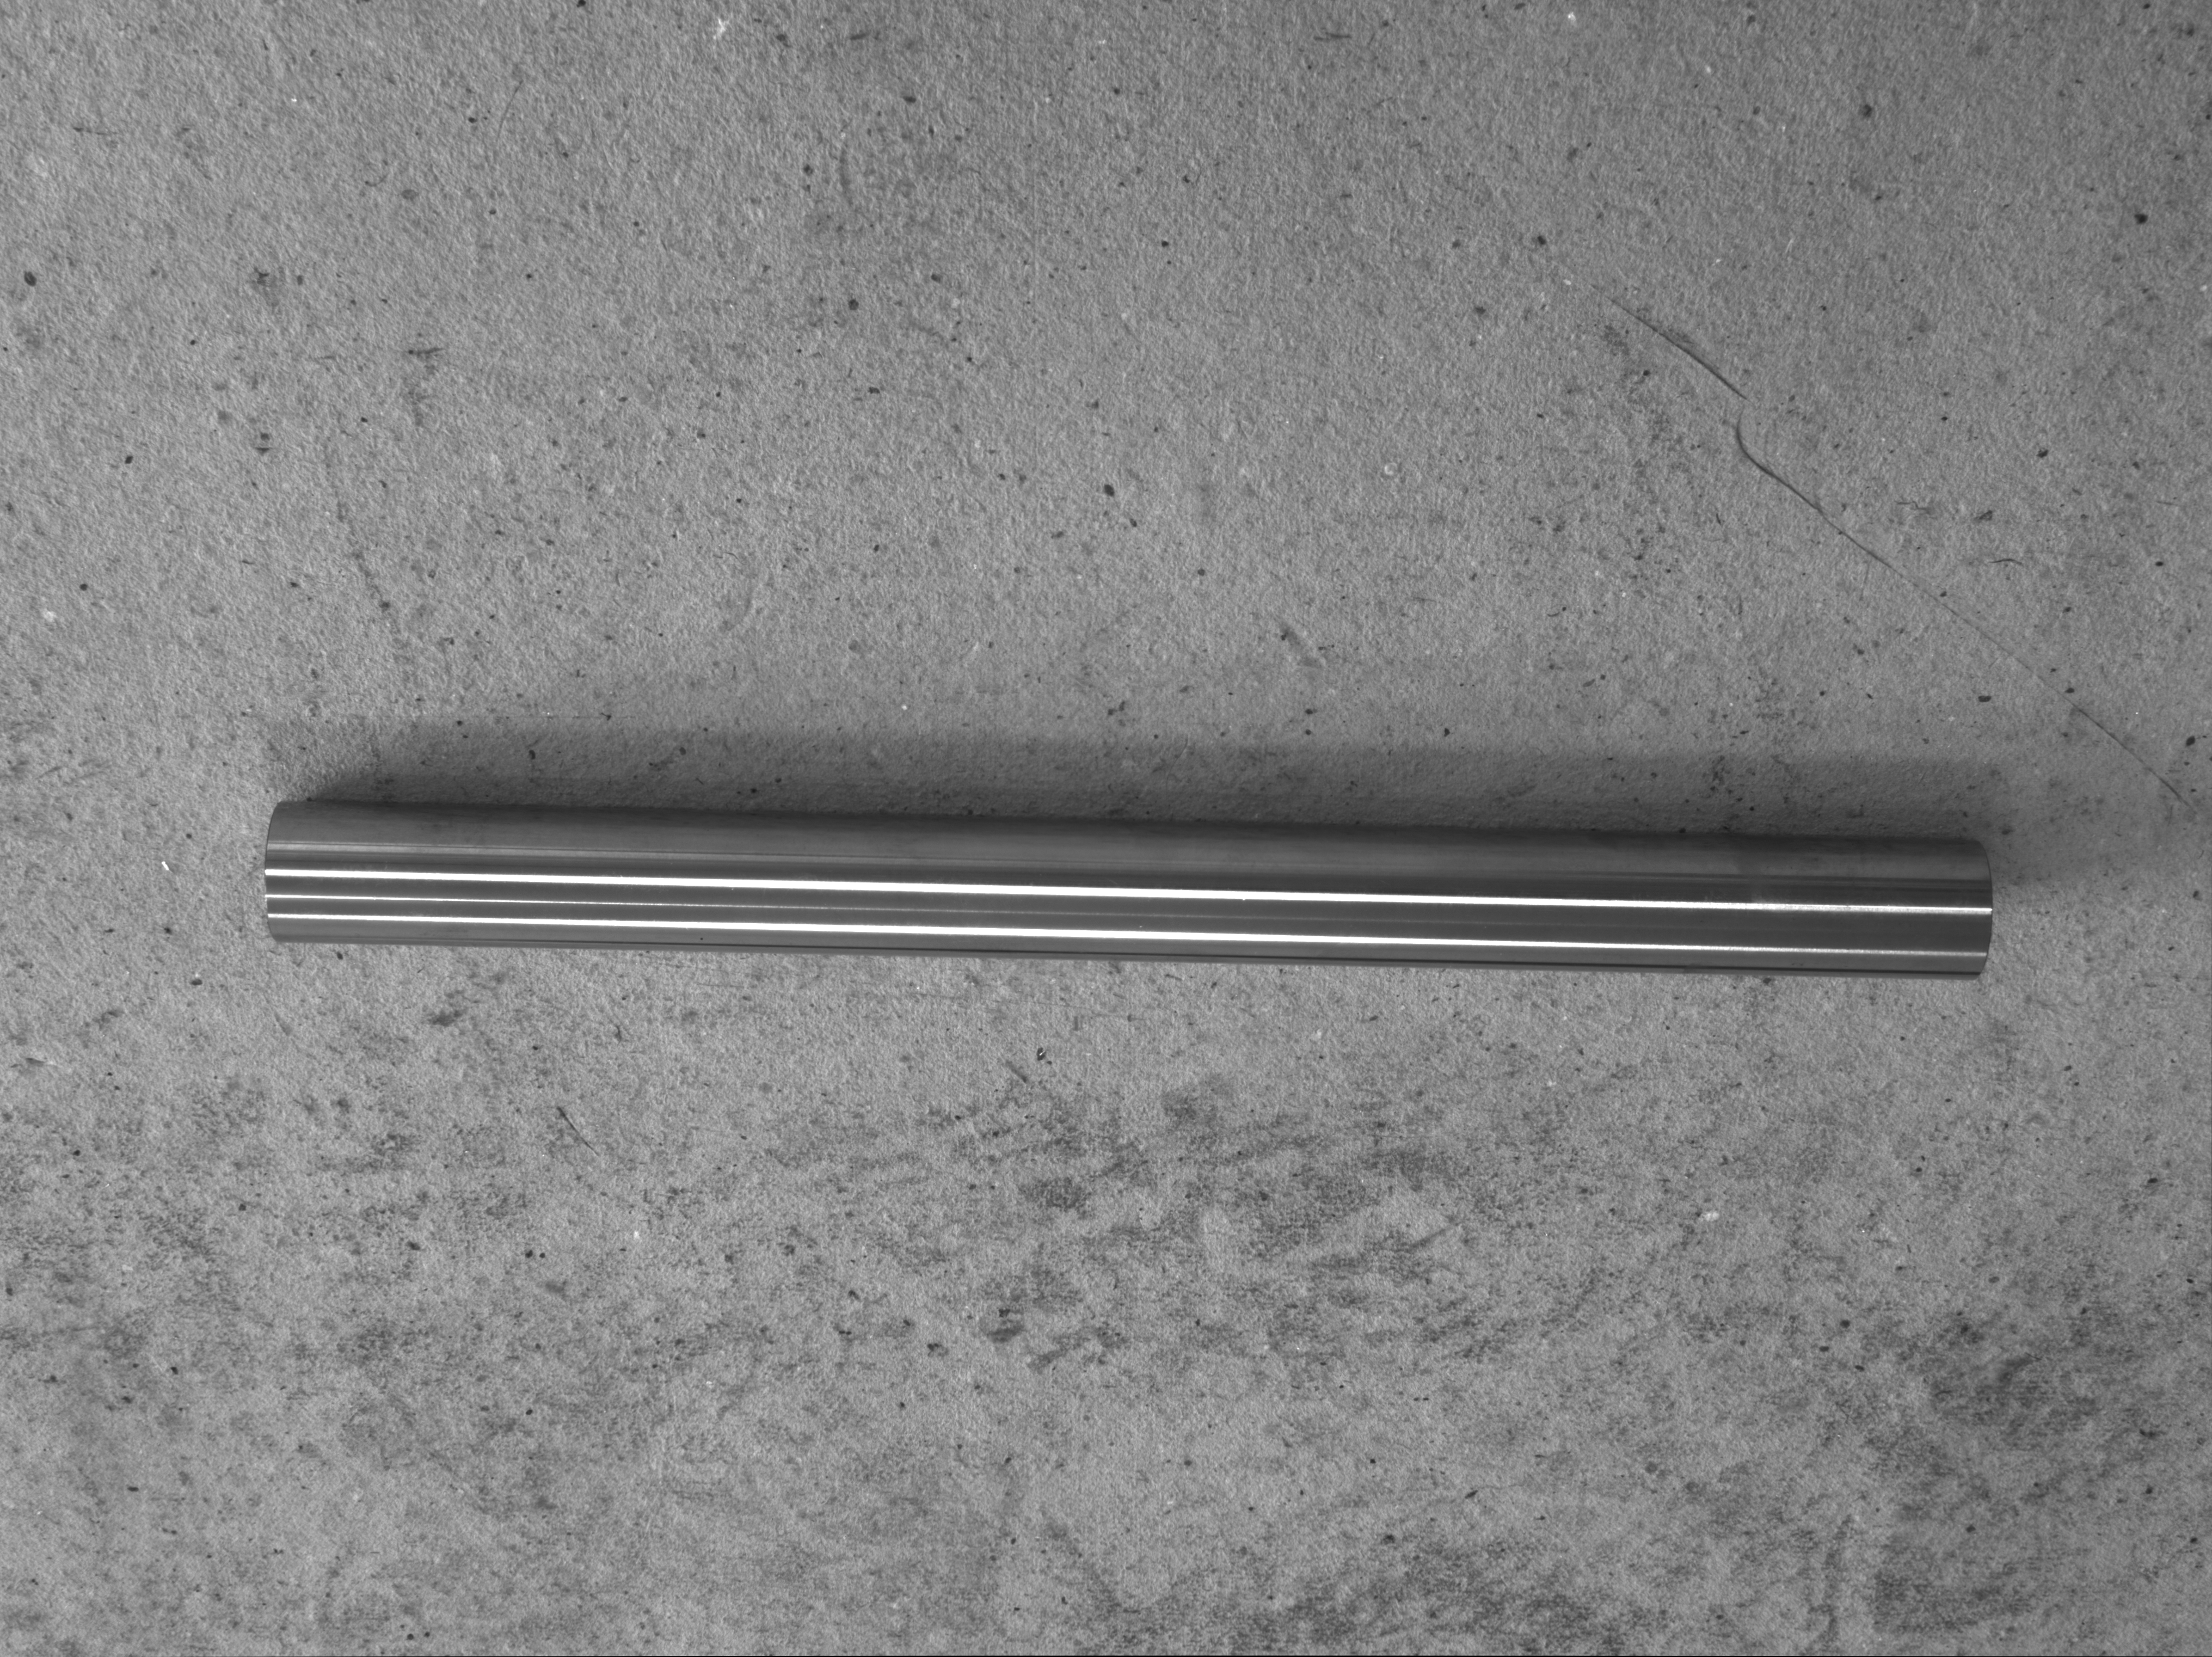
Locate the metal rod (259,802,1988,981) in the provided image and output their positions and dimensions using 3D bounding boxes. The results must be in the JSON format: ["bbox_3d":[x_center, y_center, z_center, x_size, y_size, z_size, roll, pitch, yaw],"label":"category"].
[{"bbox_3d":[0.004,0.011,0.649,0.300,0.025,0.025,1,130,-1],"label":"metal rod"}]
